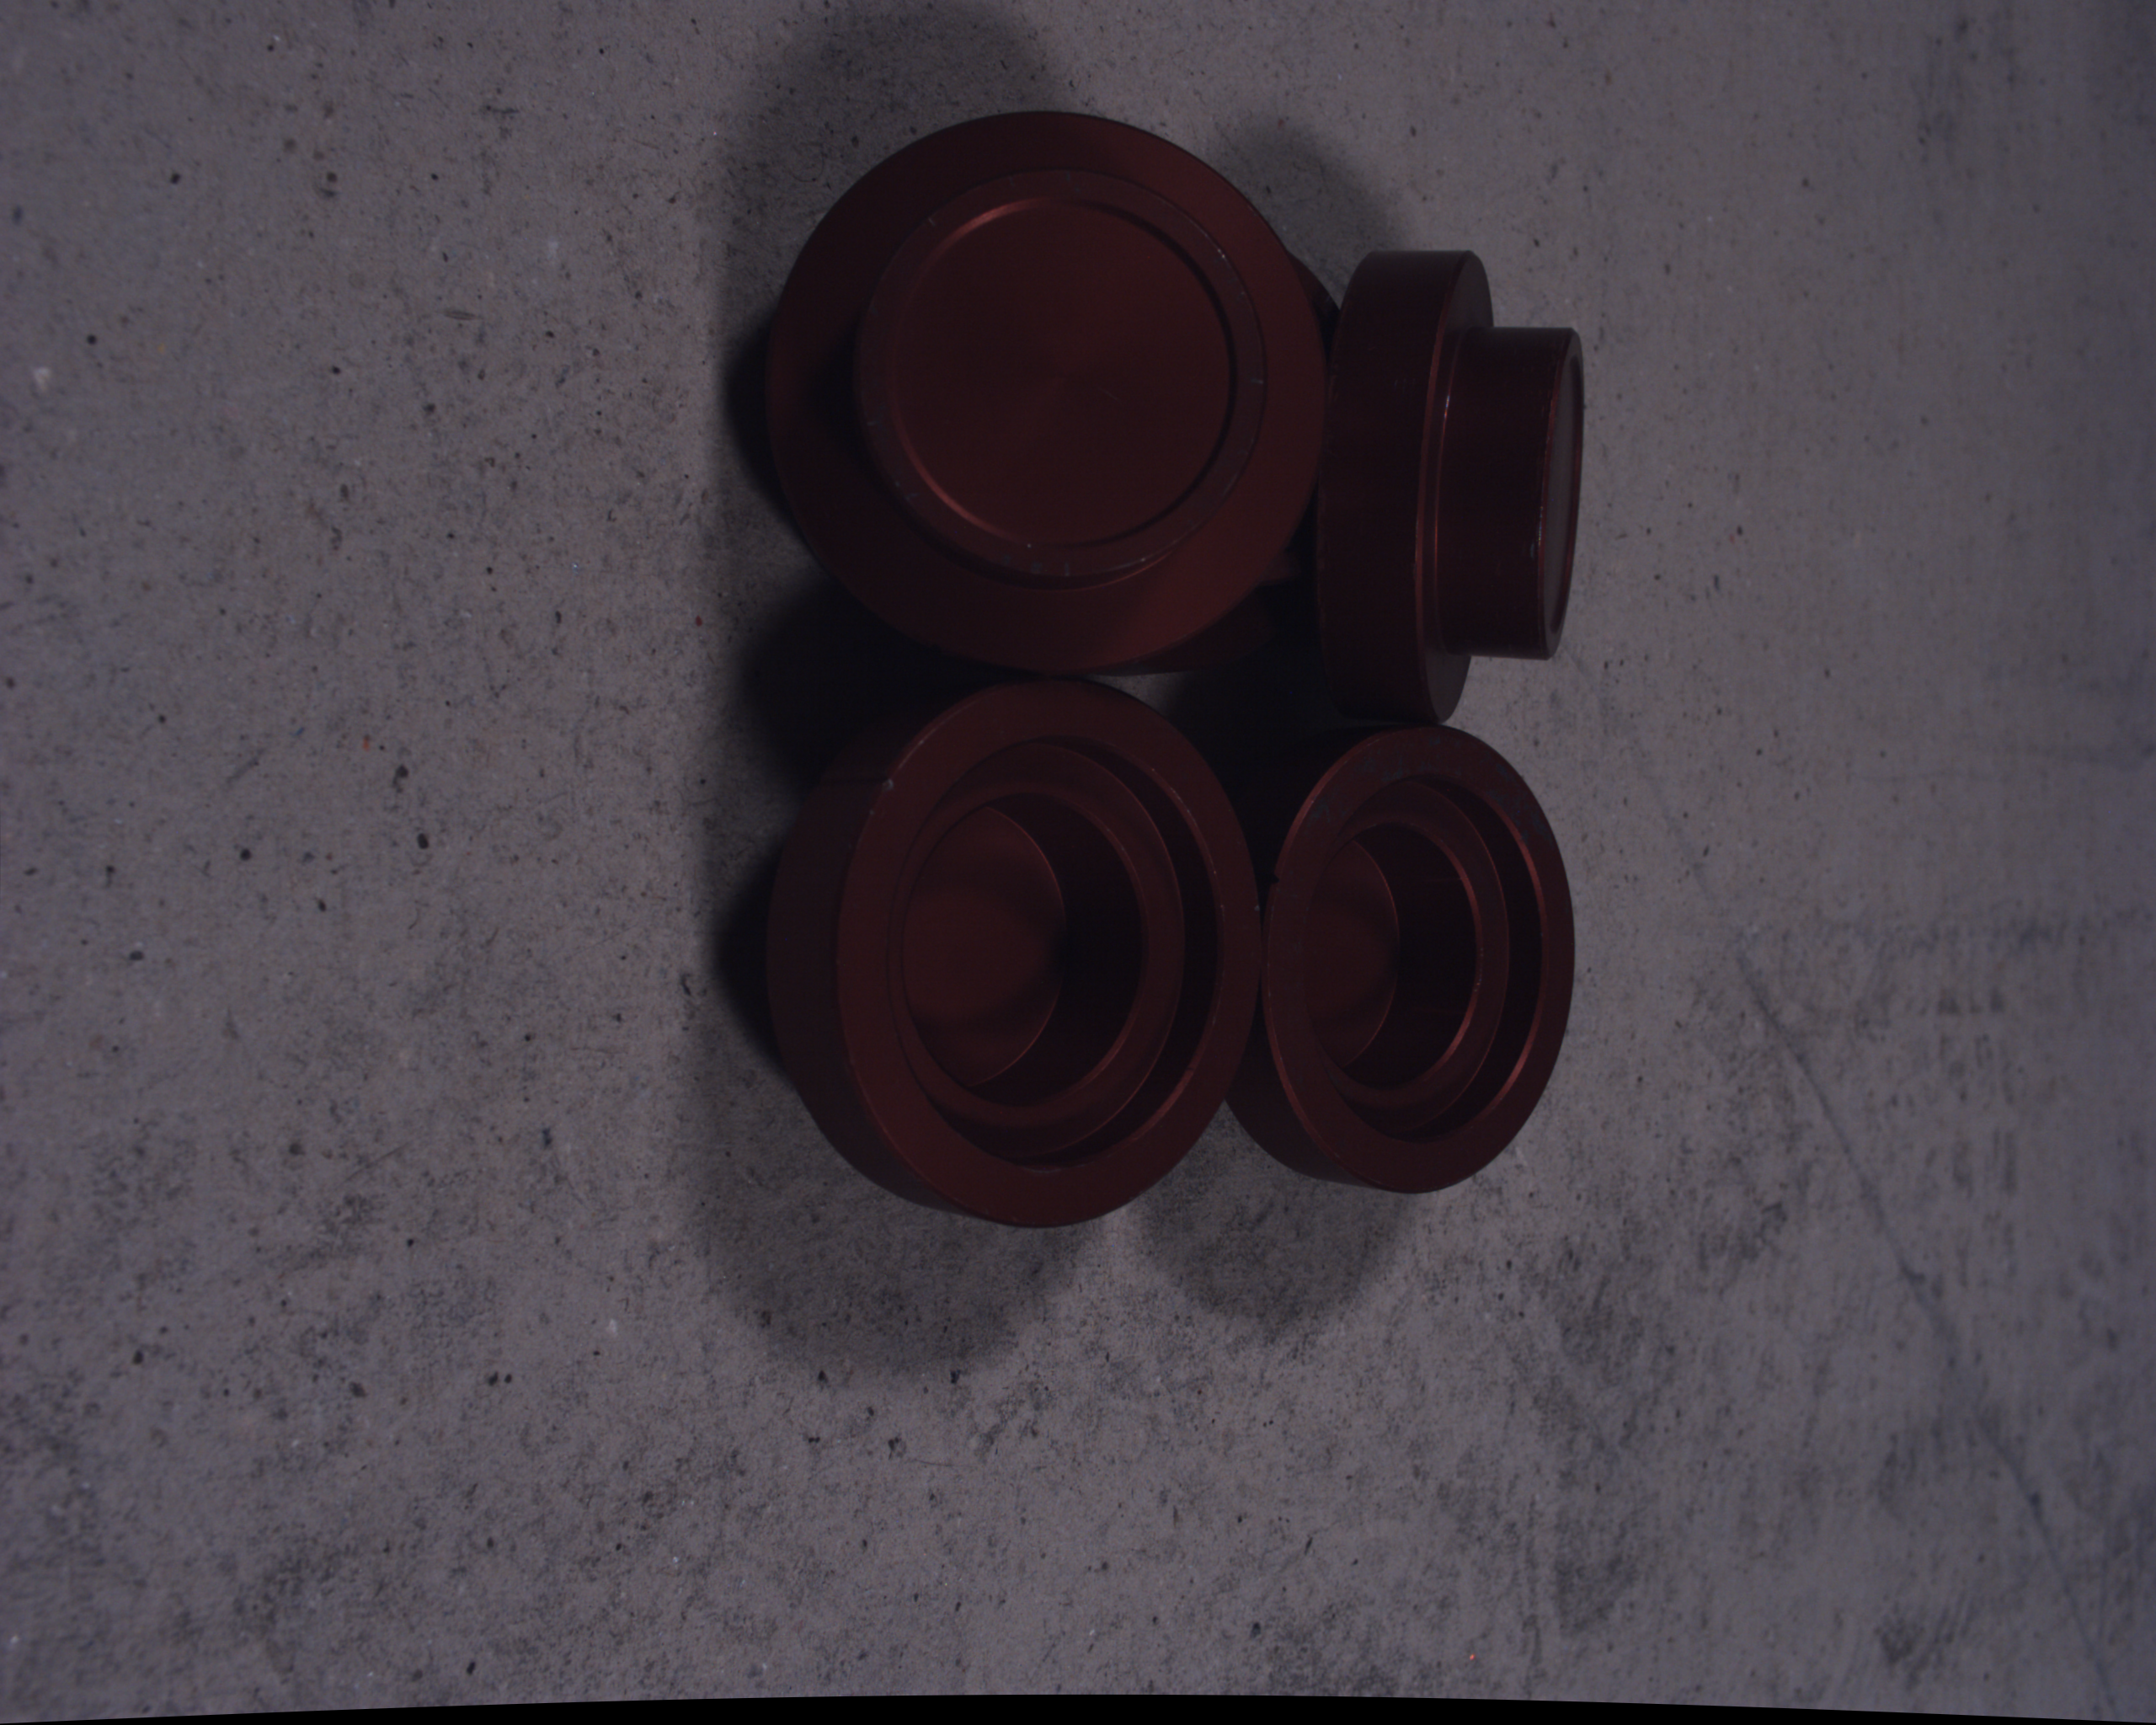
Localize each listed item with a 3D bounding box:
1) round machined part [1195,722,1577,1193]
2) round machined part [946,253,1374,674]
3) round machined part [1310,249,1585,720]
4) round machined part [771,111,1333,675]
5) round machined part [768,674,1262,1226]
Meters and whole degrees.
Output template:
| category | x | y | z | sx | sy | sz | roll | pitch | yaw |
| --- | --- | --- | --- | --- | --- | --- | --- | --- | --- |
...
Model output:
| category | x | y | z | sx | sy | sz | roll | pitch | yaw |
| --- | --- | --- | --- | --- | --- | --- | --- | --- | --- |
| round machined part | 0.060 | 0.020 | 0.448 | 0.099 | 0.042 | 0.097 | 0 | 90 | -40 |
| round machined part | 0.020 | -0.087 | 0.413 | 0.099 | 0.042 | 0.097 | 0 | 90 | -40 |
| round machined part | 0.081 | -0.078 | 0.437 | 0.098 | 0.042 | 0.097 | 5 | 91 | -71 |
| round machined part | -0.004 | -0.081 | 0.363 | 0.099 | 0.042 | 0.097 | 0 | 93 | -7 |
| round machined part | -0.015 | 0.015 | 0.384 | 0.099 | 0.042 | 0.097 | 0 | 90 | -40 |
